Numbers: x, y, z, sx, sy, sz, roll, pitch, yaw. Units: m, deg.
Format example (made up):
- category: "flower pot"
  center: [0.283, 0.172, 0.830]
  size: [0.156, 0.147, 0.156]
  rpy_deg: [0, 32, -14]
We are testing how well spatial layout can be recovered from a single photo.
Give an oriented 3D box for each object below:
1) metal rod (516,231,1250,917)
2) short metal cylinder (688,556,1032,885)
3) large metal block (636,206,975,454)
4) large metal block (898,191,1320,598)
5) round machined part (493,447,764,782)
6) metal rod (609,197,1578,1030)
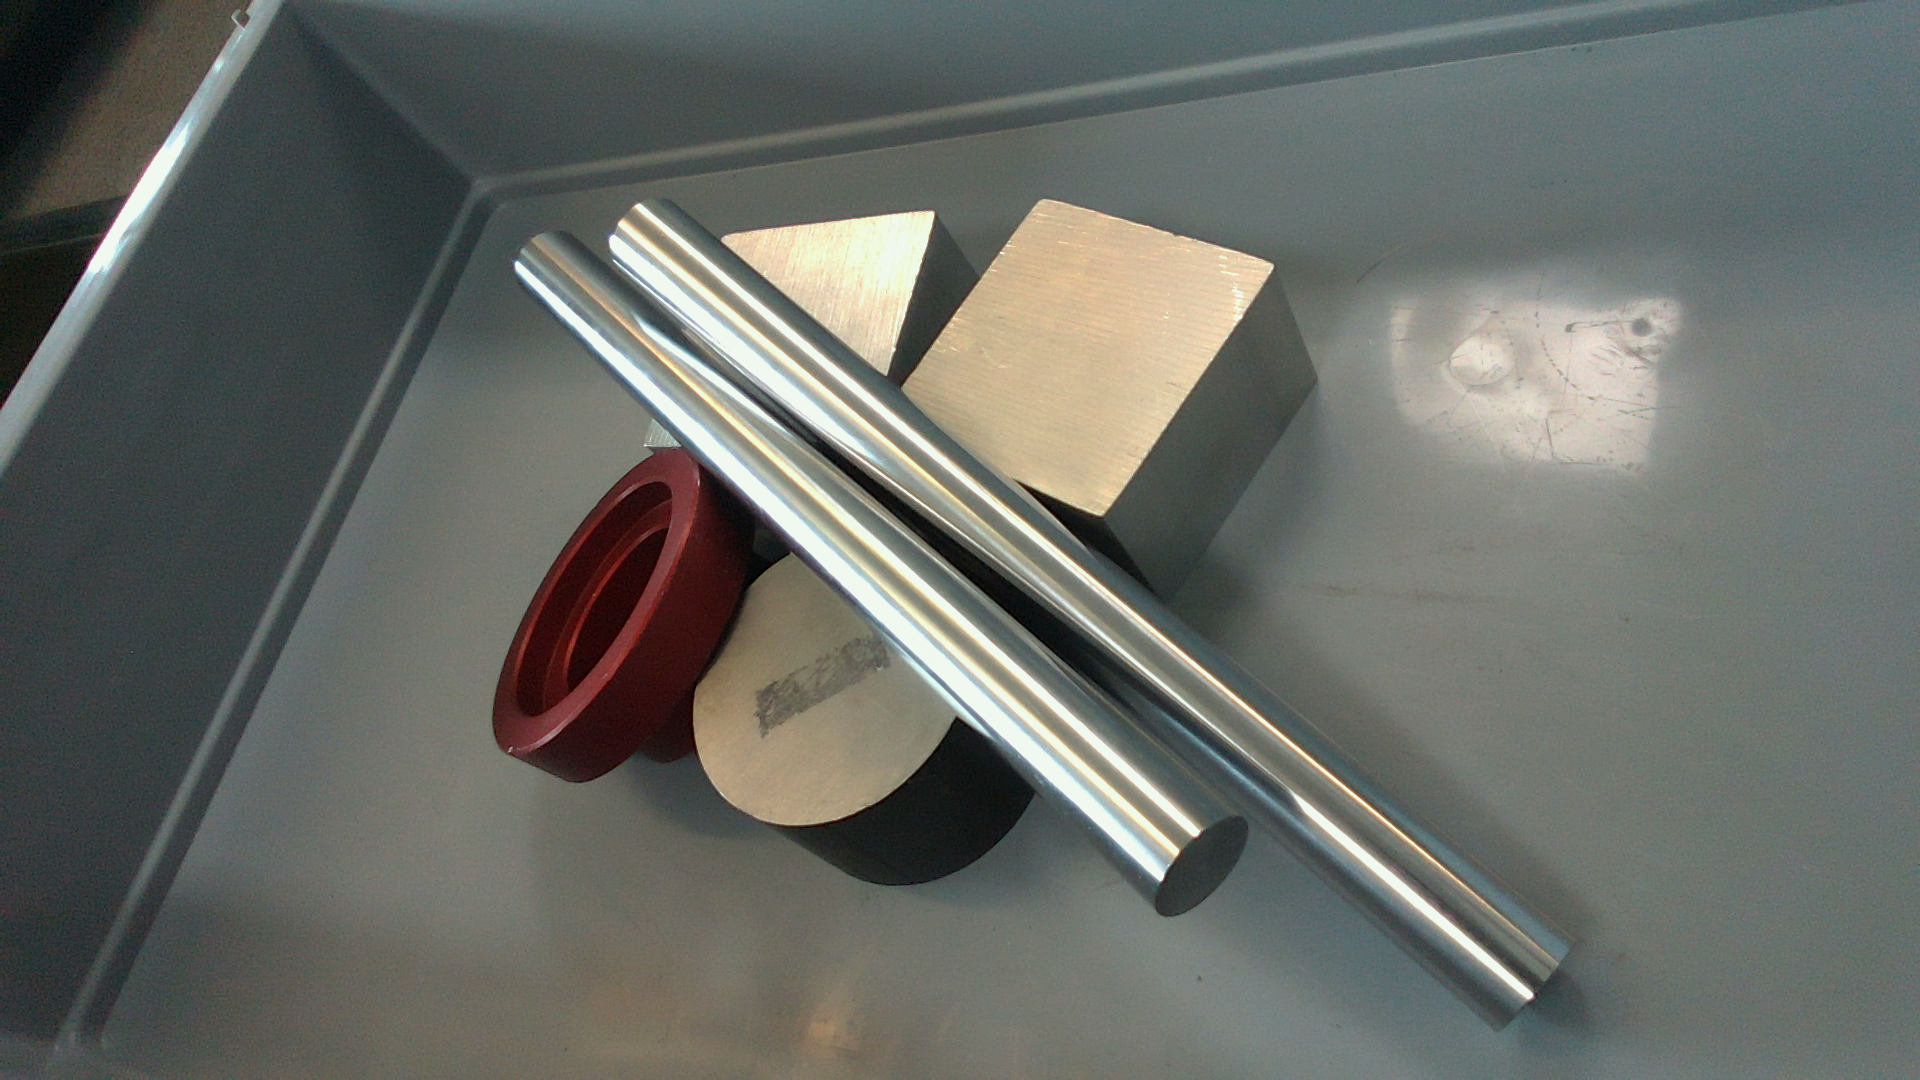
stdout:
- category: "metal rod"
  center: [-0.043, -0.013, 0.357]
  size: [0.025, 0.025, 0.299]
  rpy_deg: [-47, 52, -4]
- category: "short metal cylinder"
  center: [-0.023, 0.044, 0.360]
  size: [0.080, 0.050, 0.080]
  rpy_deg: [-13, 56, 21]
- category: "large metal block"
  center: [-0.041, -0.052, 0.426]
  size: [0.080, 0.050, 0.080]
  rpy_deg: [1, 62, 29]
- category: "large metal block"
  center: [0.038, -0.041, 0.379]
  size: [0.080, 0.050, 0.080]
  rpy_deg: [27, 77, 37]
- category: "round machined part"
  center: [-0.090, 0.025, 0.400]
  size: [0.098, 0.042, 0.098]
  rpy_deg: [-36, 35, 31]
- category: "metal rod"
  center: [0.012, 0.000, 0.337]
  size: [0.299, 0.025, 0.025]
  rpy_deg: [41, 85, 25]
